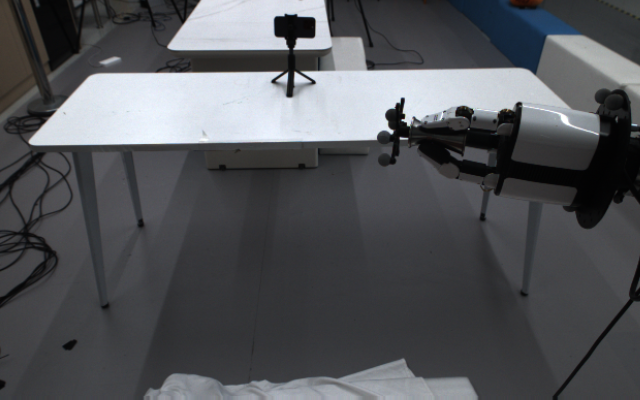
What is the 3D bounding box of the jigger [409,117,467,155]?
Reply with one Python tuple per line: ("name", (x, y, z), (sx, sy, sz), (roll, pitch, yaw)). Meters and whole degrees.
("jigger", (0.154, -0.085, 0.605), (0.071, 0.043, 0.043), (10, 35, 15))
